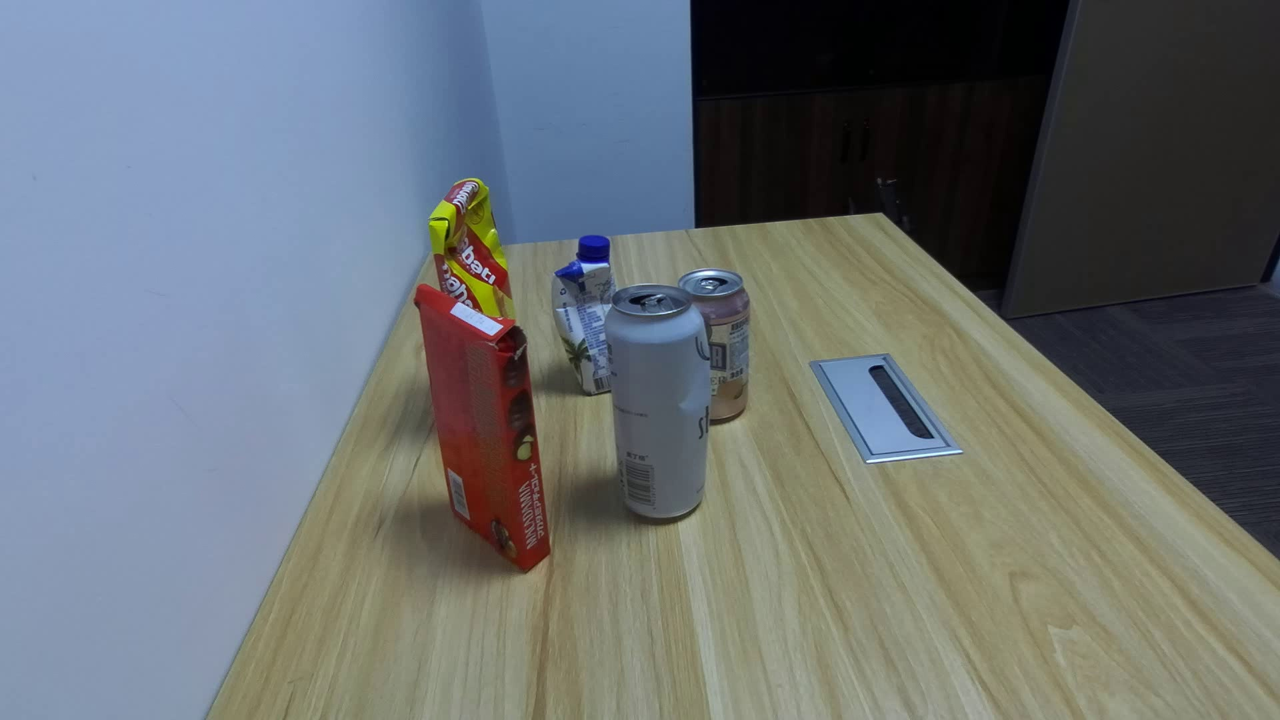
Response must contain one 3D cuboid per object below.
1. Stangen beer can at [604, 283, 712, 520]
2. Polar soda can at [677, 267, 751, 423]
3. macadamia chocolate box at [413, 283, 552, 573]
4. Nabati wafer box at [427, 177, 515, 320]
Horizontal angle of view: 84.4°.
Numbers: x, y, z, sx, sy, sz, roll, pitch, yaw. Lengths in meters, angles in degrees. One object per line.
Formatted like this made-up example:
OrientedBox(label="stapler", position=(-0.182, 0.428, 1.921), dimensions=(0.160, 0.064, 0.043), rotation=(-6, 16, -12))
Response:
OrientedBox(label="Stangen beer can", position=(0.014, 0.029, 0.504), dimensions=(0.070, 0.173, 0.070), rotation=(-7, 30, -6))
OrientedBox(label="Polar soda can", position=(0.062, -0.012, 0.617), dimensions=(0.067, 0.126, 0.067), rotation=(-3, 28, 2))
OrientedBox(label="macadamia chocolate box", position=(-0.108, 0.046, 0.482), dimensions=(0.102, 0.187, 0.027), rotation=(23, 36, 37))
OrientedBox(label="Nabati wafer box", position=(-0.136, -0.044, 0.614), dimensions=(0.042, 0.205, 0.113), rotation=(-6, 32, -1))
